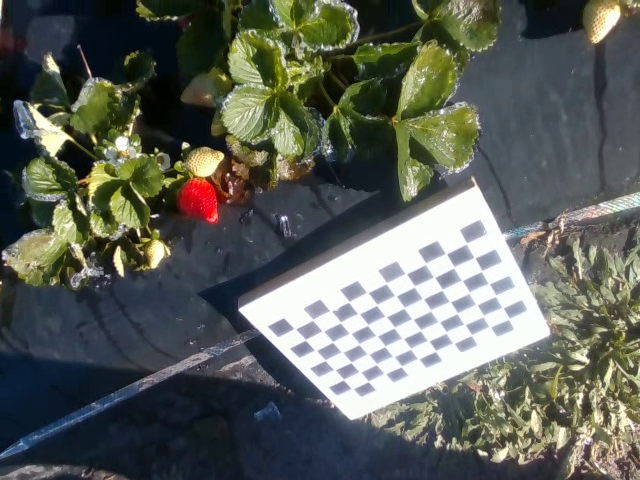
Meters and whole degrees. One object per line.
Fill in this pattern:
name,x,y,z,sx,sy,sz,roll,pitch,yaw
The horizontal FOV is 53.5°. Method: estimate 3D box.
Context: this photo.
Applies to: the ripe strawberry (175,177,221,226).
ripe strawberry,-0.105,-0.031,0.552,0.042,0.040,0.053,-4,42,-42
